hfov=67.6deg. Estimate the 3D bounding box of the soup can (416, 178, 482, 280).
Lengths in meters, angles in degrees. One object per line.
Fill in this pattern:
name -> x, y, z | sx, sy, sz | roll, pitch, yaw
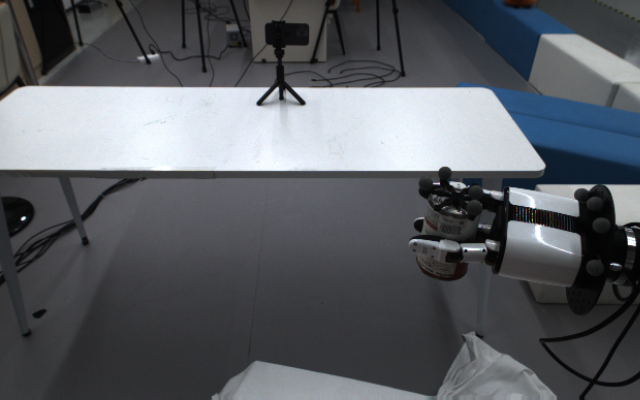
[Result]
soup can -> 0.166, 0.043, 0.621 | 0.067, 0.101, 0.067 | 2, 32, -1
